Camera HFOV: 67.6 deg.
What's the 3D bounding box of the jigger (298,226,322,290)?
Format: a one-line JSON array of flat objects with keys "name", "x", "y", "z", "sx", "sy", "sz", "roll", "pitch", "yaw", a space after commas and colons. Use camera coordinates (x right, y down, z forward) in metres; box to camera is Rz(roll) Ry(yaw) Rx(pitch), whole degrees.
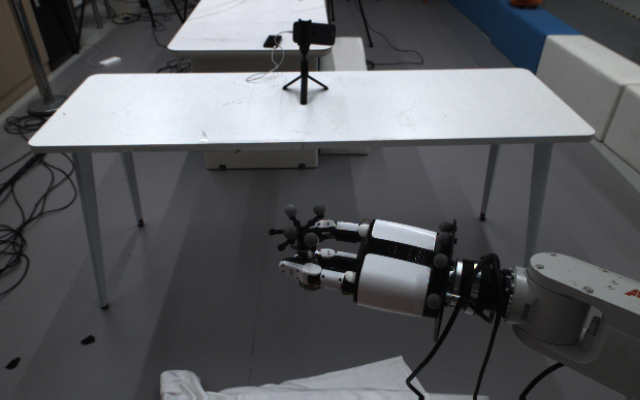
[{"name": "jigger", "x": -0.013, "y": 0.081, "z": 0.659, "sx": 0.043, "sy": 0.071, "sz": 0.043, "roll": -9, "pitch": 31, "yaw": 5}]
